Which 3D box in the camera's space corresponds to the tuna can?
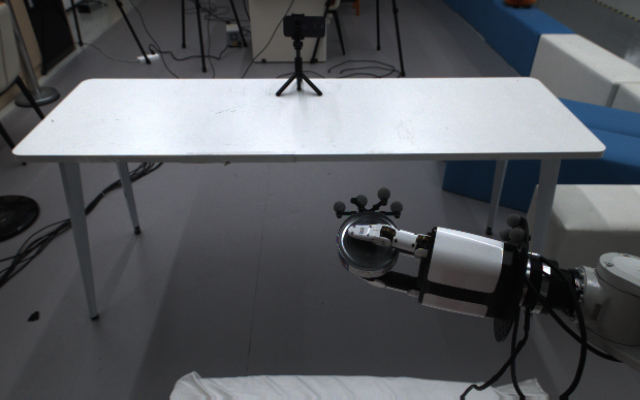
[{"bbox_3d":[0.066,0.059,0.650,0.085,0.034,0.085,-2,58,3],"label":"tuna can"}]
